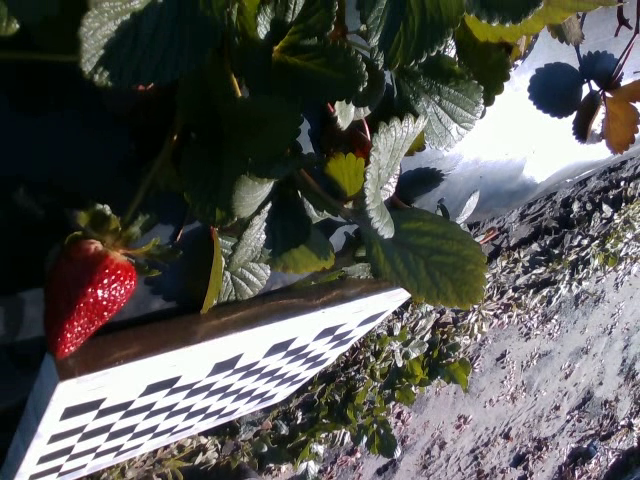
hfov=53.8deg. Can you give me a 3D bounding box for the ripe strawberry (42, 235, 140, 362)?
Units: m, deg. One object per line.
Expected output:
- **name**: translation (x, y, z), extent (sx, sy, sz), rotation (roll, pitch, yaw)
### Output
- **ripe strawberry**: translation (-0.111, 0.026, 0.285), extent (0.058, 0.061, 0.066), rotation (-1, -13, 13)
